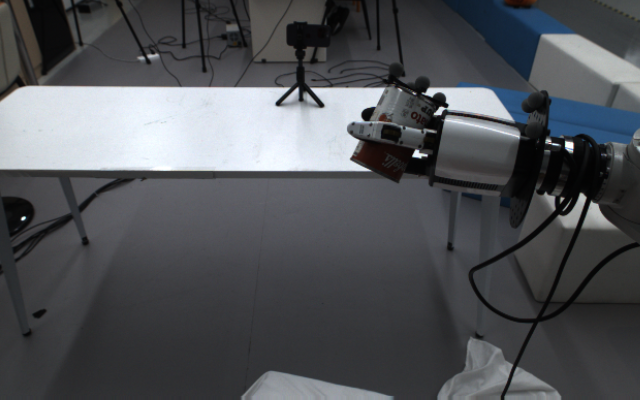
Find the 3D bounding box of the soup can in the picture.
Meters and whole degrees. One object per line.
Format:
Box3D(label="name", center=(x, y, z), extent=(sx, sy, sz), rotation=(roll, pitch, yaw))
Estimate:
Box3D(label="soup can", center=(0.090, -0.080, 0.588), extent=(0.067, 0.101, 0.067), rotation=(26, 5, -3))
